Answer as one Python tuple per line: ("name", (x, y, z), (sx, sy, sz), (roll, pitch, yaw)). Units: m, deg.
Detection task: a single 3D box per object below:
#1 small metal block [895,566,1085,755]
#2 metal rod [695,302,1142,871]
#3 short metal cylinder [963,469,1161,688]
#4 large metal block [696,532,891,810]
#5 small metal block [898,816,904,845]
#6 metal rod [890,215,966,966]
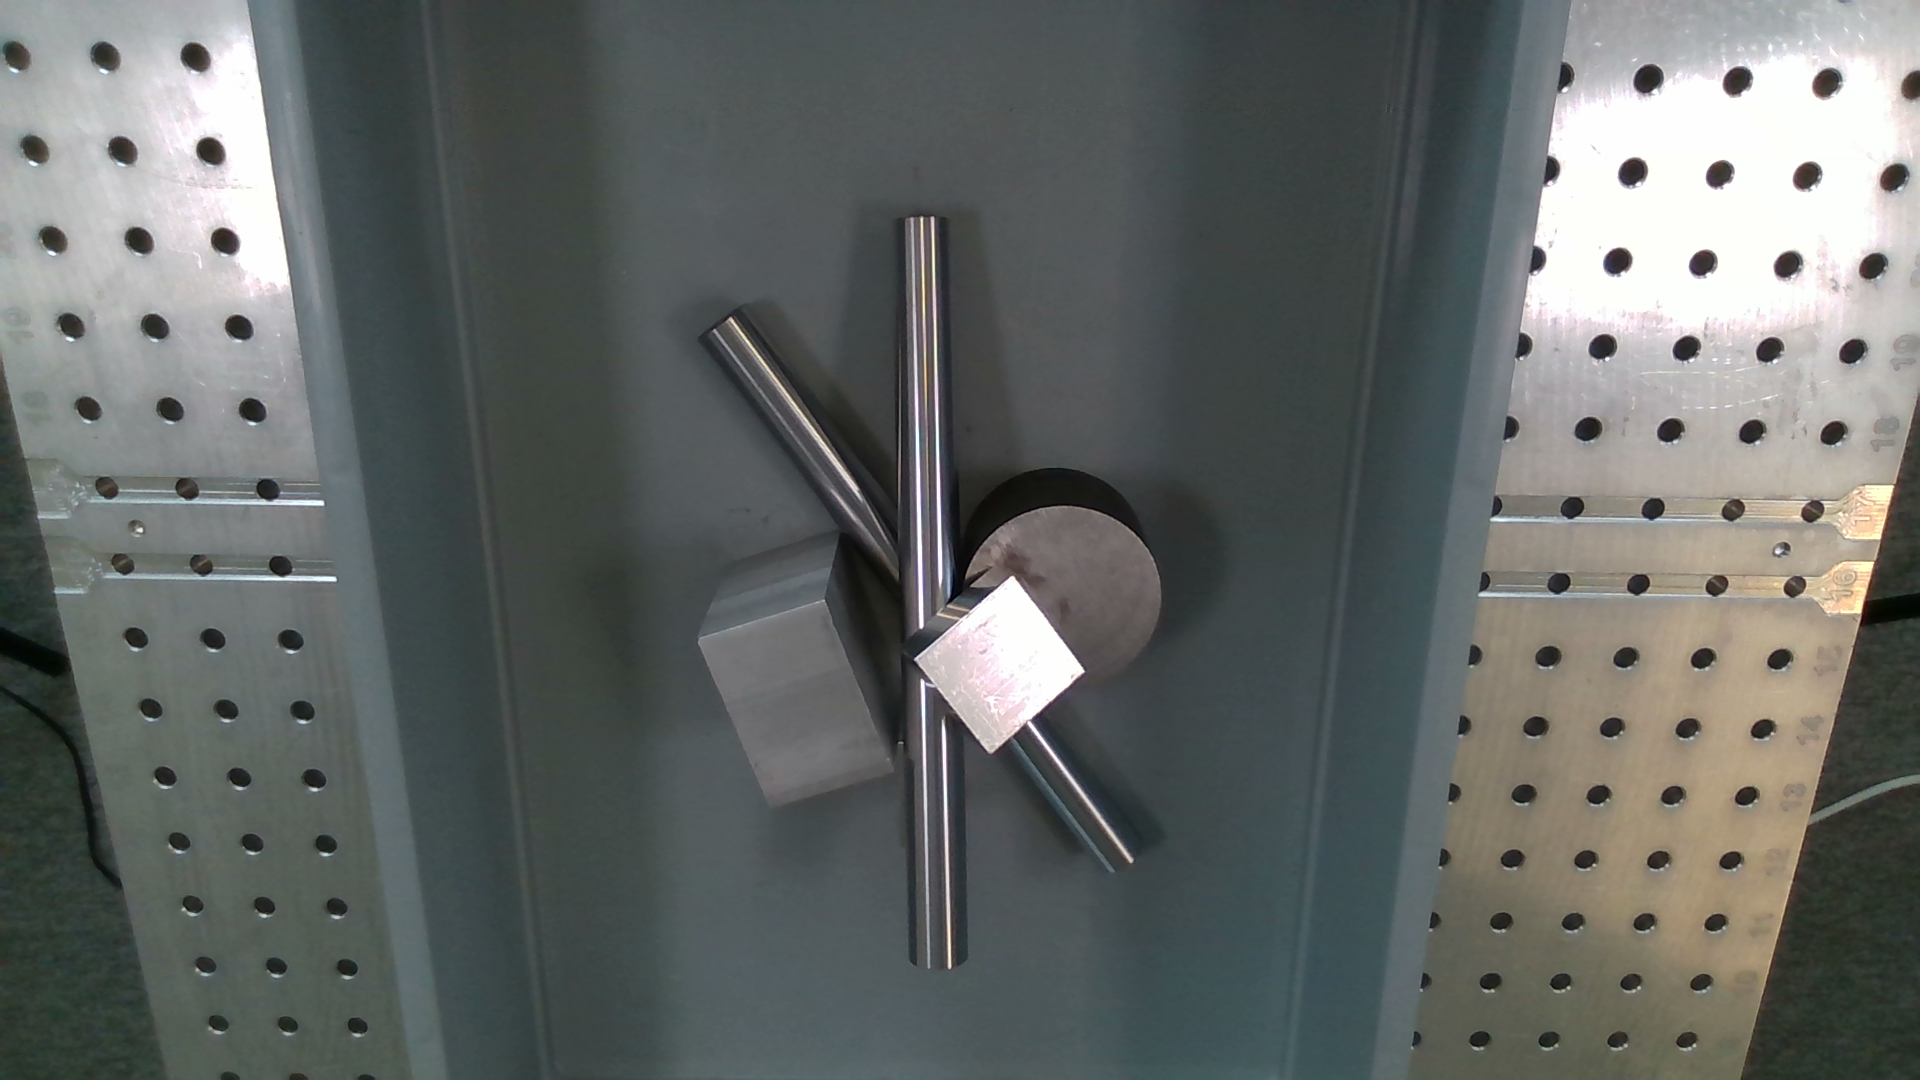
("small metal block", (0.012, 0.047, 0.539), (0.050, 0.025, 0.050), (-40, 106, -10))
("metal rod", (-0.011, 0.028, 0.595), (0.025, 0.025, 0.300), (-33, 107, 11))
("short metal cylinder", (0.041, 0.015, 0.576), (0.080, 0.050, 0.080), (0, 110, -1))
("large metal block", (-0.064, 0.052, 0.573), (0.050, 0.080, 0.080), (-17, 109, 6))
("small metal block", (-0.014, 0.100, 0.608), (0.025, 0.050, 0.050), (0, 109, 0))
("metal rod", (-0.012, 0.024, 0.555), (0.025, 0.025, 0.300), (-1, 97, 0))
